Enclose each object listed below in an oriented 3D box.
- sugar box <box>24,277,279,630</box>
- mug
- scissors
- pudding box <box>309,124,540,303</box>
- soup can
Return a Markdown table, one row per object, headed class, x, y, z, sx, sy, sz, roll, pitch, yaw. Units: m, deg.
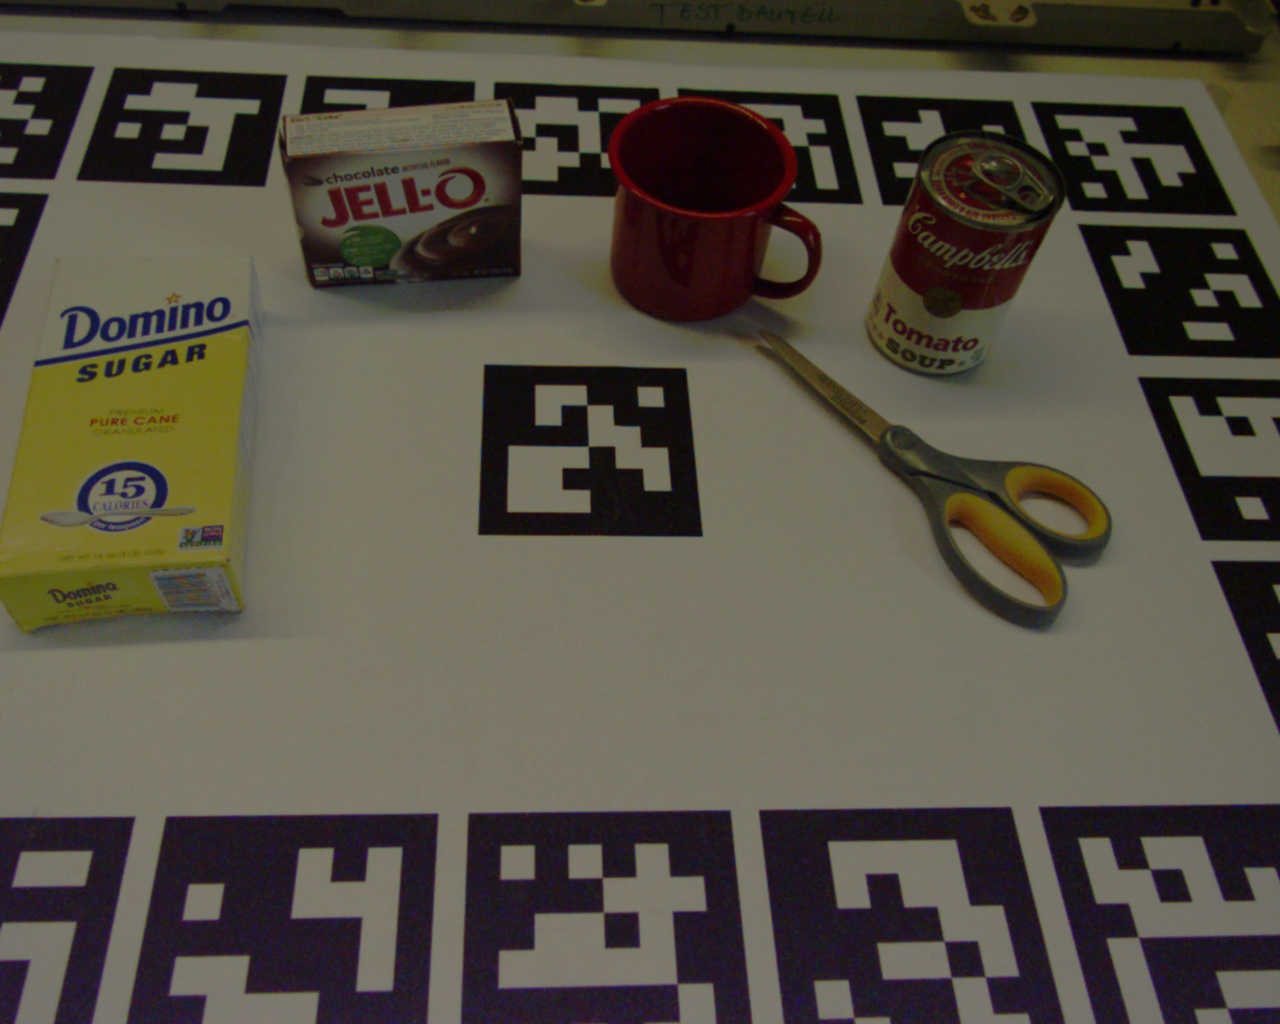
| class | x | y | z | sx | sy | sz | roll | pitch | yaw |
| --- | --- | --- | --- | --- | --- | --- | --- | --- | --- |
| sugar box | -0.227 | -0.033 | 0.548 | 0.092 | 0.045 | 0.177 | -3 | 60 | -5 |
| mug | 0.036 | -0.152 | 0.618 | 0.092 | 0.081 | 0.118 | -34 | 65 | -20 |
| scissors | 0.132 | -0.020 | 0.579 | 0.087 | 0.016 | 0.204 | -42 | 70 | -16 |
| pudding box | -0.112 | -0.156 | 0.600 | 0.113 | 0.090 | 0.039 | -8 | 66 | -10 |
| soup can | 0.153 | -0.119 | 0.603 | 0.068 | 0.102 | 0.068 | 2 | 57 | -4 |
